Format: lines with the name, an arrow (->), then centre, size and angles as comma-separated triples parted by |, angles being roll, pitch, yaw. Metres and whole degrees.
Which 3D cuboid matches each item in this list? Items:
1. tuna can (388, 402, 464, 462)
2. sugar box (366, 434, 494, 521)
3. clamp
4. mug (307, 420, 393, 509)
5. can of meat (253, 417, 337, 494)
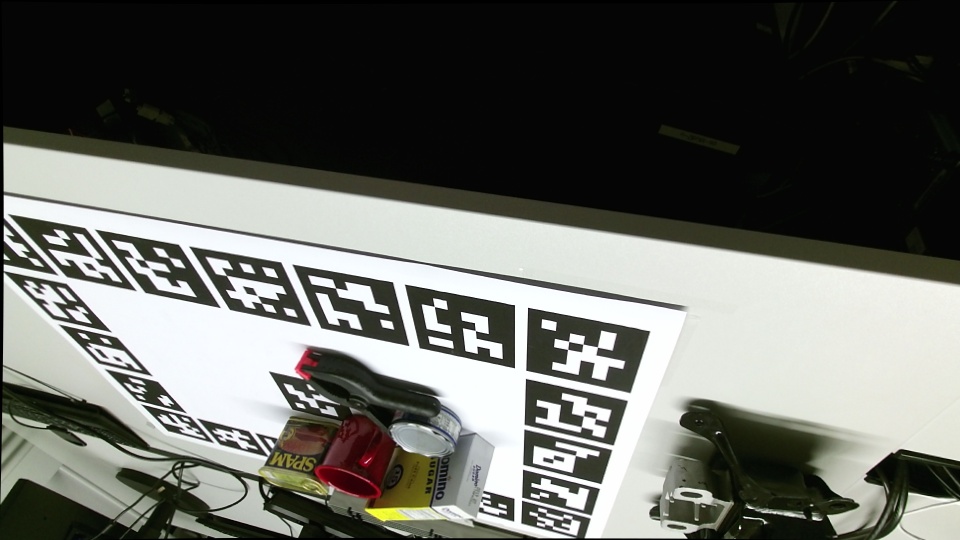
tuna can -> -0.064, 0.191, 0.639 | 0.086, 0.033, 0.086 | 11, 134, 11
sugar box -> -0.069, 0.268, 0.685 | 0.177, 0.092, 0.045 | -23, 123, 38
clamp -> -0.139, 0.135, 0.621 | 0.165, 0.036, 0.122 | 37, 139, -10
mug -> -0.160, 0.244, 0.693 | 0.093, 0.081, 0.117 | 27, 135, -5
can of meat -> -0.253, 0.260, 0.756 | 0.102, 0.083, 0.058 | 4, 135, 20
